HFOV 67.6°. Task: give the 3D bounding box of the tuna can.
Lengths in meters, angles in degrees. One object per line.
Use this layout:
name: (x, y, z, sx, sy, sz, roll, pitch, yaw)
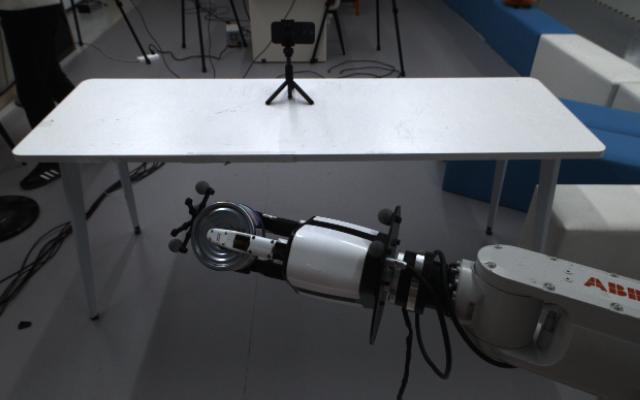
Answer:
tuna can: (-0.109, 0.049, 0.588, 0.085, 0.085, 0.034, 12, -4, 14)
